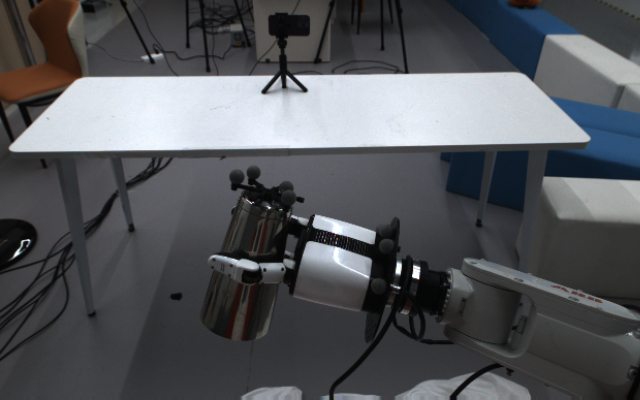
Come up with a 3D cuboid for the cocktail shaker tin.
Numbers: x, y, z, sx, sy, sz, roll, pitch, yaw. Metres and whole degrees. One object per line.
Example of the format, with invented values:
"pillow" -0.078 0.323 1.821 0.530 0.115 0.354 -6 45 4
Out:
"cocktail shaker tin" -0.086 0.076 0.602 0.093 0.170 0.093 15 17 -5
